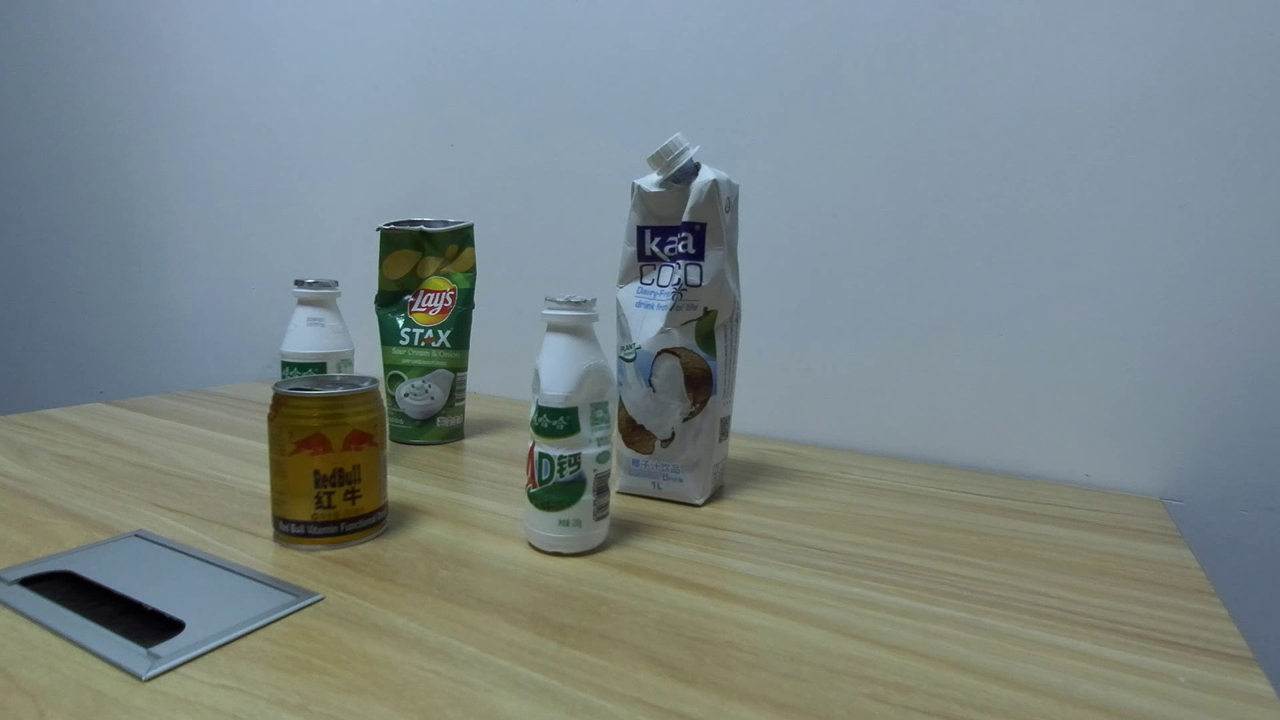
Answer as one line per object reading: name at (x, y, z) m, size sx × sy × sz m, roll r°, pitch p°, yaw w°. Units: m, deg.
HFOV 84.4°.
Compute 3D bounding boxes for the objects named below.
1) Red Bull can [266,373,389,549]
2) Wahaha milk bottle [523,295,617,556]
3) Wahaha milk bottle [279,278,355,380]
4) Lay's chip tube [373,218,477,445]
Red Bull can at (-0.188, 0.059, 0.428) m, size 0.067 × 0.093 × 0.067 m, roll 2°, pitch 9°, yaw 0°
Wahaha milk bottle at (-0.043, 0.038, 0.420) m, size 0.055 × 0.149 × 0.055 m, roll 1°, pitch 10°, yaw 0°
Wahaha milk bottle at (-0.249, 0.012, 0.543) m, size 0.053 × 0.147 × 0.053 m, roll 2°, pitch 8°, yaw 0°
Lay's chip tube at (-0.197, -0.027, 0.651) m, size 0.077 × 0.201 × 0.069 m, roll -6°, pitch 12°, yaw -32°
